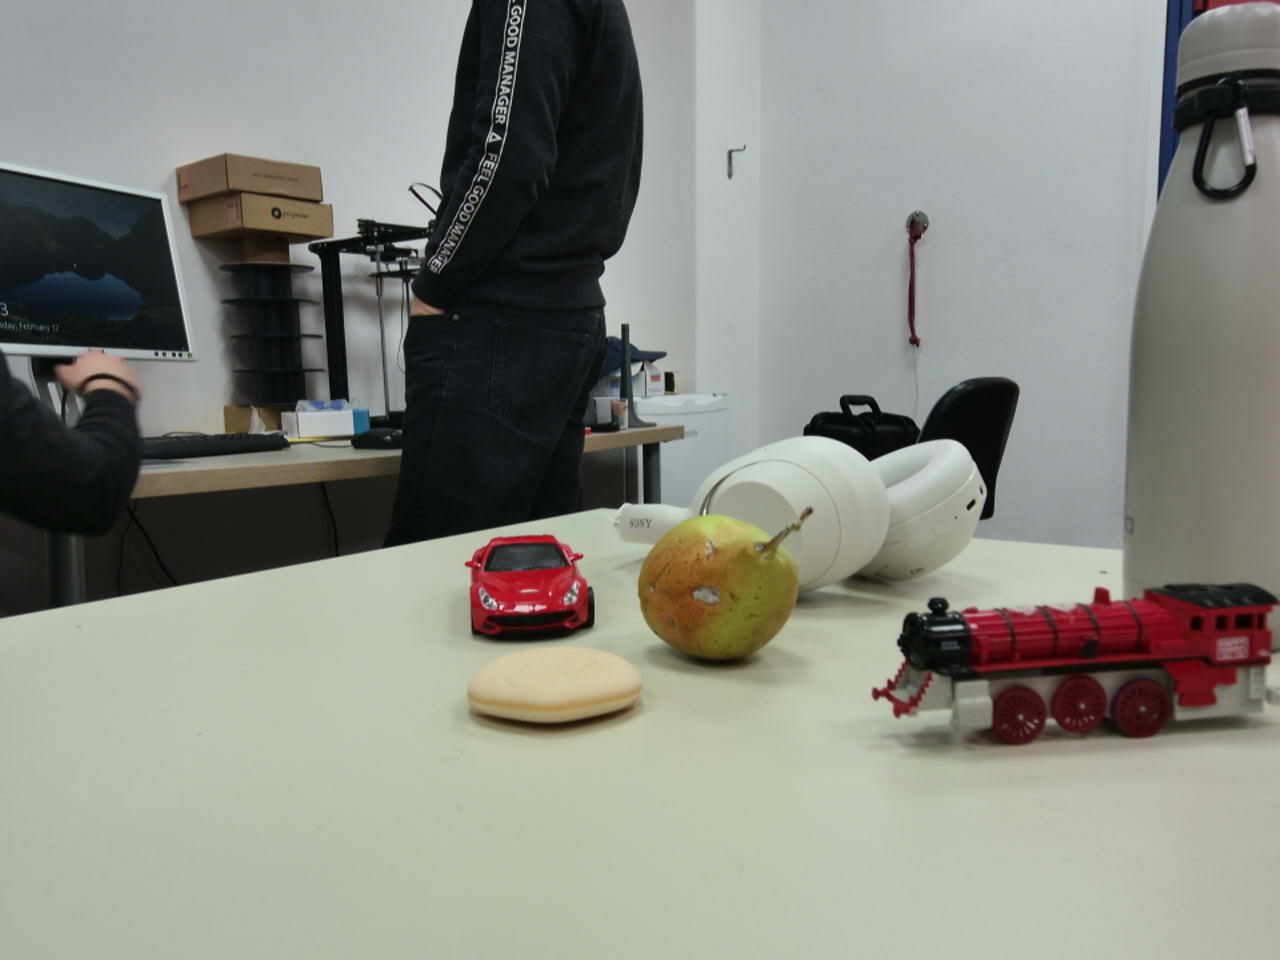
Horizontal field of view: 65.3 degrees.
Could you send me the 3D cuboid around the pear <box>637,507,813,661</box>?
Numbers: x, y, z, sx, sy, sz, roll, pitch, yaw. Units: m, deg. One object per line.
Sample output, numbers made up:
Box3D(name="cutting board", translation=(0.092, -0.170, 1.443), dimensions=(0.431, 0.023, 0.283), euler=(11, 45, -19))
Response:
Box3D(name="pear", translation=(0.034, 0.044, 0.438), dimensions=(0.068, 0.069, 0.070), euler=(1, 3, -1))
